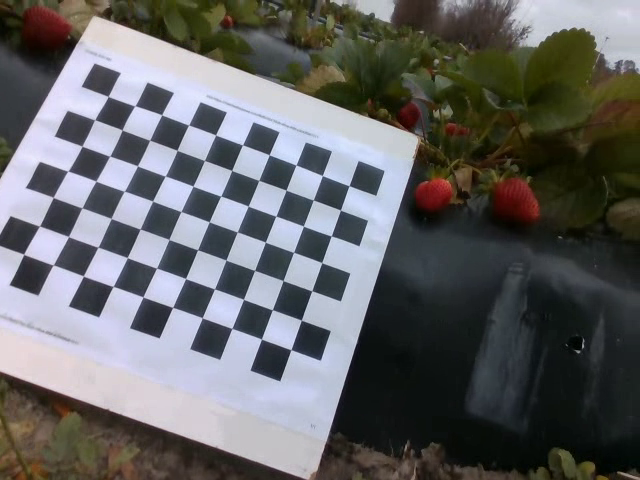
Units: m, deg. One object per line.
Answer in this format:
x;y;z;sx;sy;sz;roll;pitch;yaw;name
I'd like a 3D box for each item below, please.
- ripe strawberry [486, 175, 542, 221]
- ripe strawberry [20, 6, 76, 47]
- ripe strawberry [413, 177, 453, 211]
0.178;-0.036;0.505;0.044;0.059;0.042;-30;-35;-3;ripe strawberry
-0.271;-0.217;0.560;0.064;0.046;0.048;16;-14;34;ripe strawberry
0.100;-0.041;0.485;0.036;0.041;0.028;15;-37;9;ripe strawberry
